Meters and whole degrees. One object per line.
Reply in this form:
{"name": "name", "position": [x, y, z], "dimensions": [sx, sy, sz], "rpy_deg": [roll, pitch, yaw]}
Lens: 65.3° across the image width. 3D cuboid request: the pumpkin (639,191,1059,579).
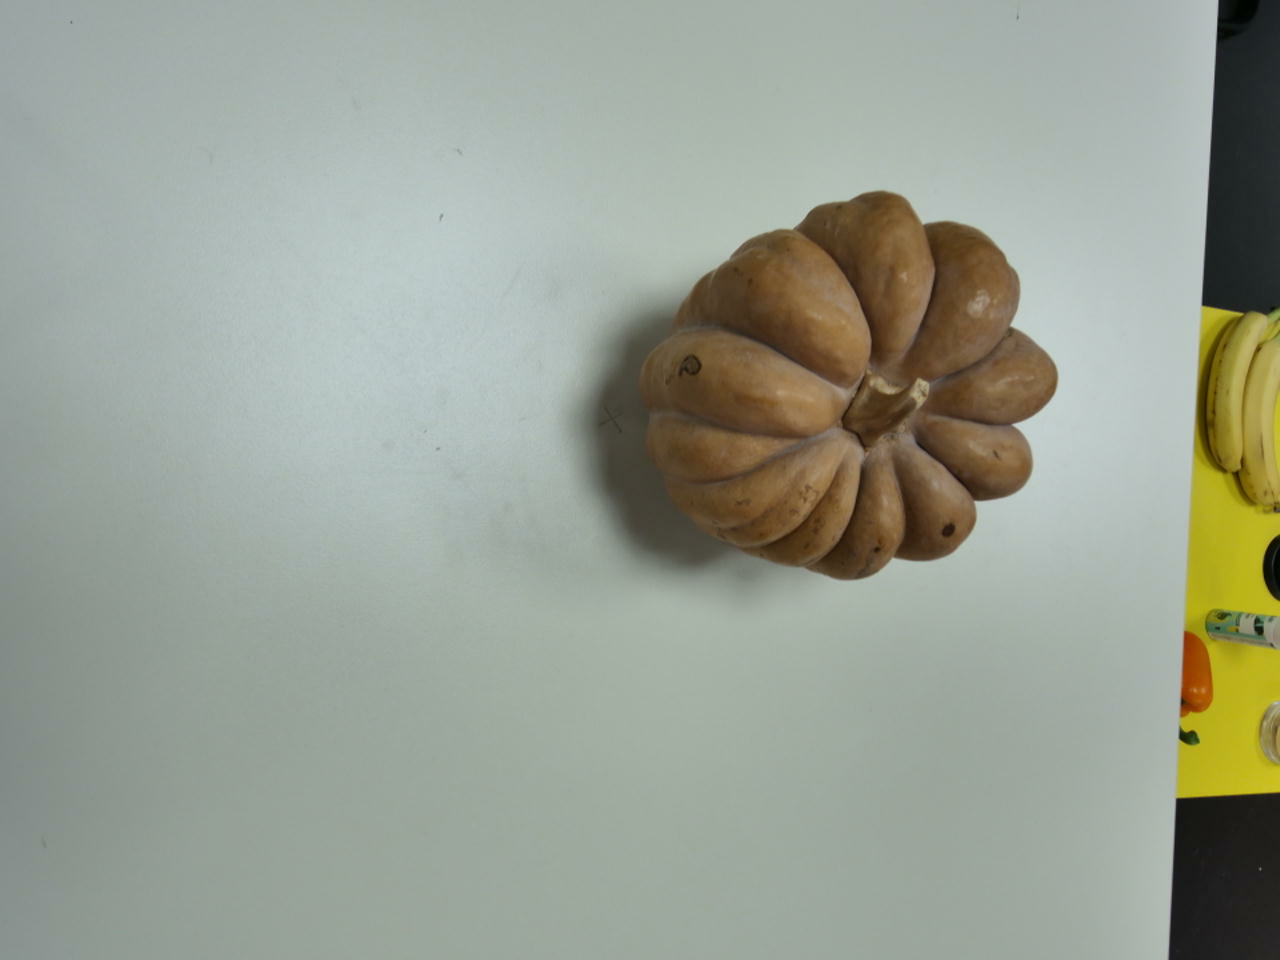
{"name": "pumpkin", "position": [0.099, -0.044, 0.518], "dimensions": [0.198, 0.177, 0.198], "rpy_deg": [0, 90, -22]}
